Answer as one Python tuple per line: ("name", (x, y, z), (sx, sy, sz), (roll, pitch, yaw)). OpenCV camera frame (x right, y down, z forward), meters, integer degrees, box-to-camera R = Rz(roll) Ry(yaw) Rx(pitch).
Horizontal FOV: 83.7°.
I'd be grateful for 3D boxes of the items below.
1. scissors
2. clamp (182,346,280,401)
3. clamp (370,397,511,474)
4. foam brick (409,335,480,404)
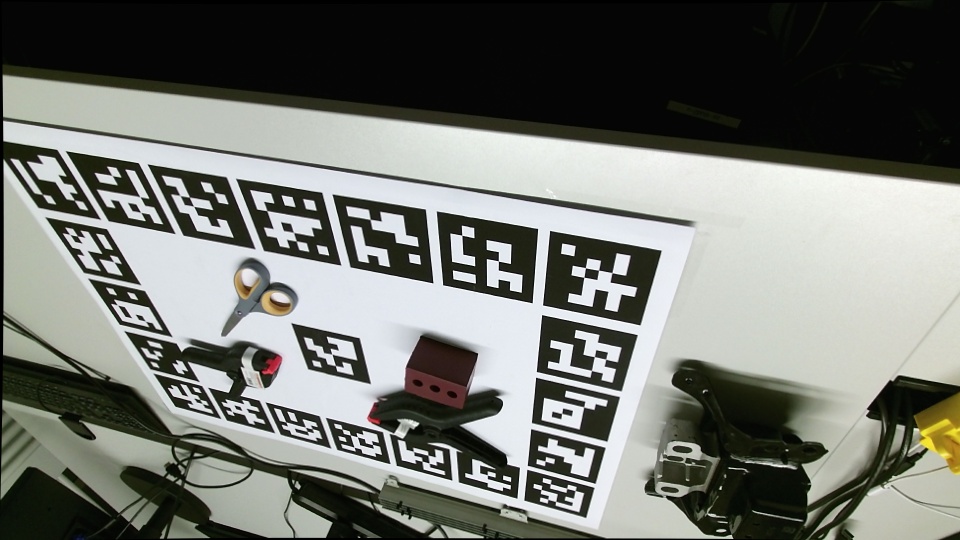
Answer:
("scissors", (-0.312, 0.054, 0.721), (0.088, 0.016, 0.203), (44, 131, -8))
("clamp", (-0.373, 0.157, 0.826), (0.165, 0.036, 0.122), (-14, 115, 28))
("clamp", (-0.059, 0.222, 0.760), (0.203, 0.036, 0.165), (7, 133, 15))
("foam brick", (-0.044, 0.123, 0.665), (0.078, 0.051, 0.053), (13, 130, 3))
